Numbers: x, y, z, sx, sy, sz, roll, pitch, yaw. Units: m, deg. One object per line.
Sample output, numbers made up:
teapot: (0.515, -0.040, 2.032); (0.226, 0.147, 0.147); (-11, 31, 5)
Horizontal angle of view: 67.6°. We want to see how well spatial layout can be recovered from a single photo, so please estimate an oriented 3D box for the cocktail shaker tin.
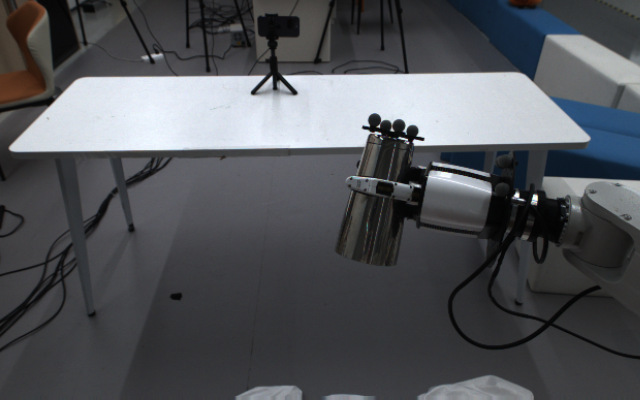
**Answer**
cocktail shaker tin: (0.084, -0.003, 0.683); (0.093, 0.170, 0.093); (12, 7, -1)
